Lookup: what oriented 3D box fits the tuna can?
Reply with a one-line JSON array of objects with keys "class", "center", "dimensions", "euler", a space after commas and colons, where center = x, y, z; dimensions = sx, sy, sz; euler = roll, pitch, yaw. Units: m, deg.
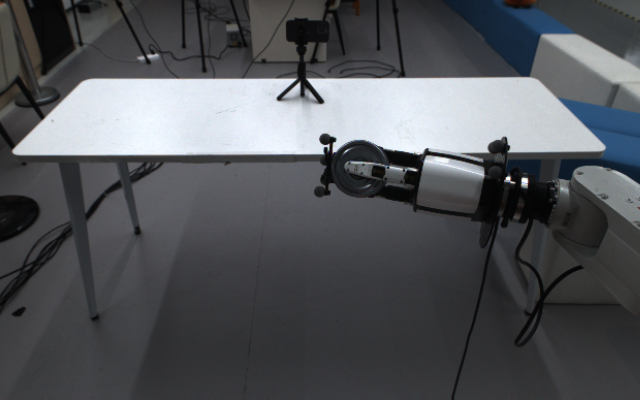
[{"class": "tuna can", "center": [0.063, -0.044, 0.717], "dimensions": [0.085, 0.085, 0.034], "euler": [10, 2, 11]}]
